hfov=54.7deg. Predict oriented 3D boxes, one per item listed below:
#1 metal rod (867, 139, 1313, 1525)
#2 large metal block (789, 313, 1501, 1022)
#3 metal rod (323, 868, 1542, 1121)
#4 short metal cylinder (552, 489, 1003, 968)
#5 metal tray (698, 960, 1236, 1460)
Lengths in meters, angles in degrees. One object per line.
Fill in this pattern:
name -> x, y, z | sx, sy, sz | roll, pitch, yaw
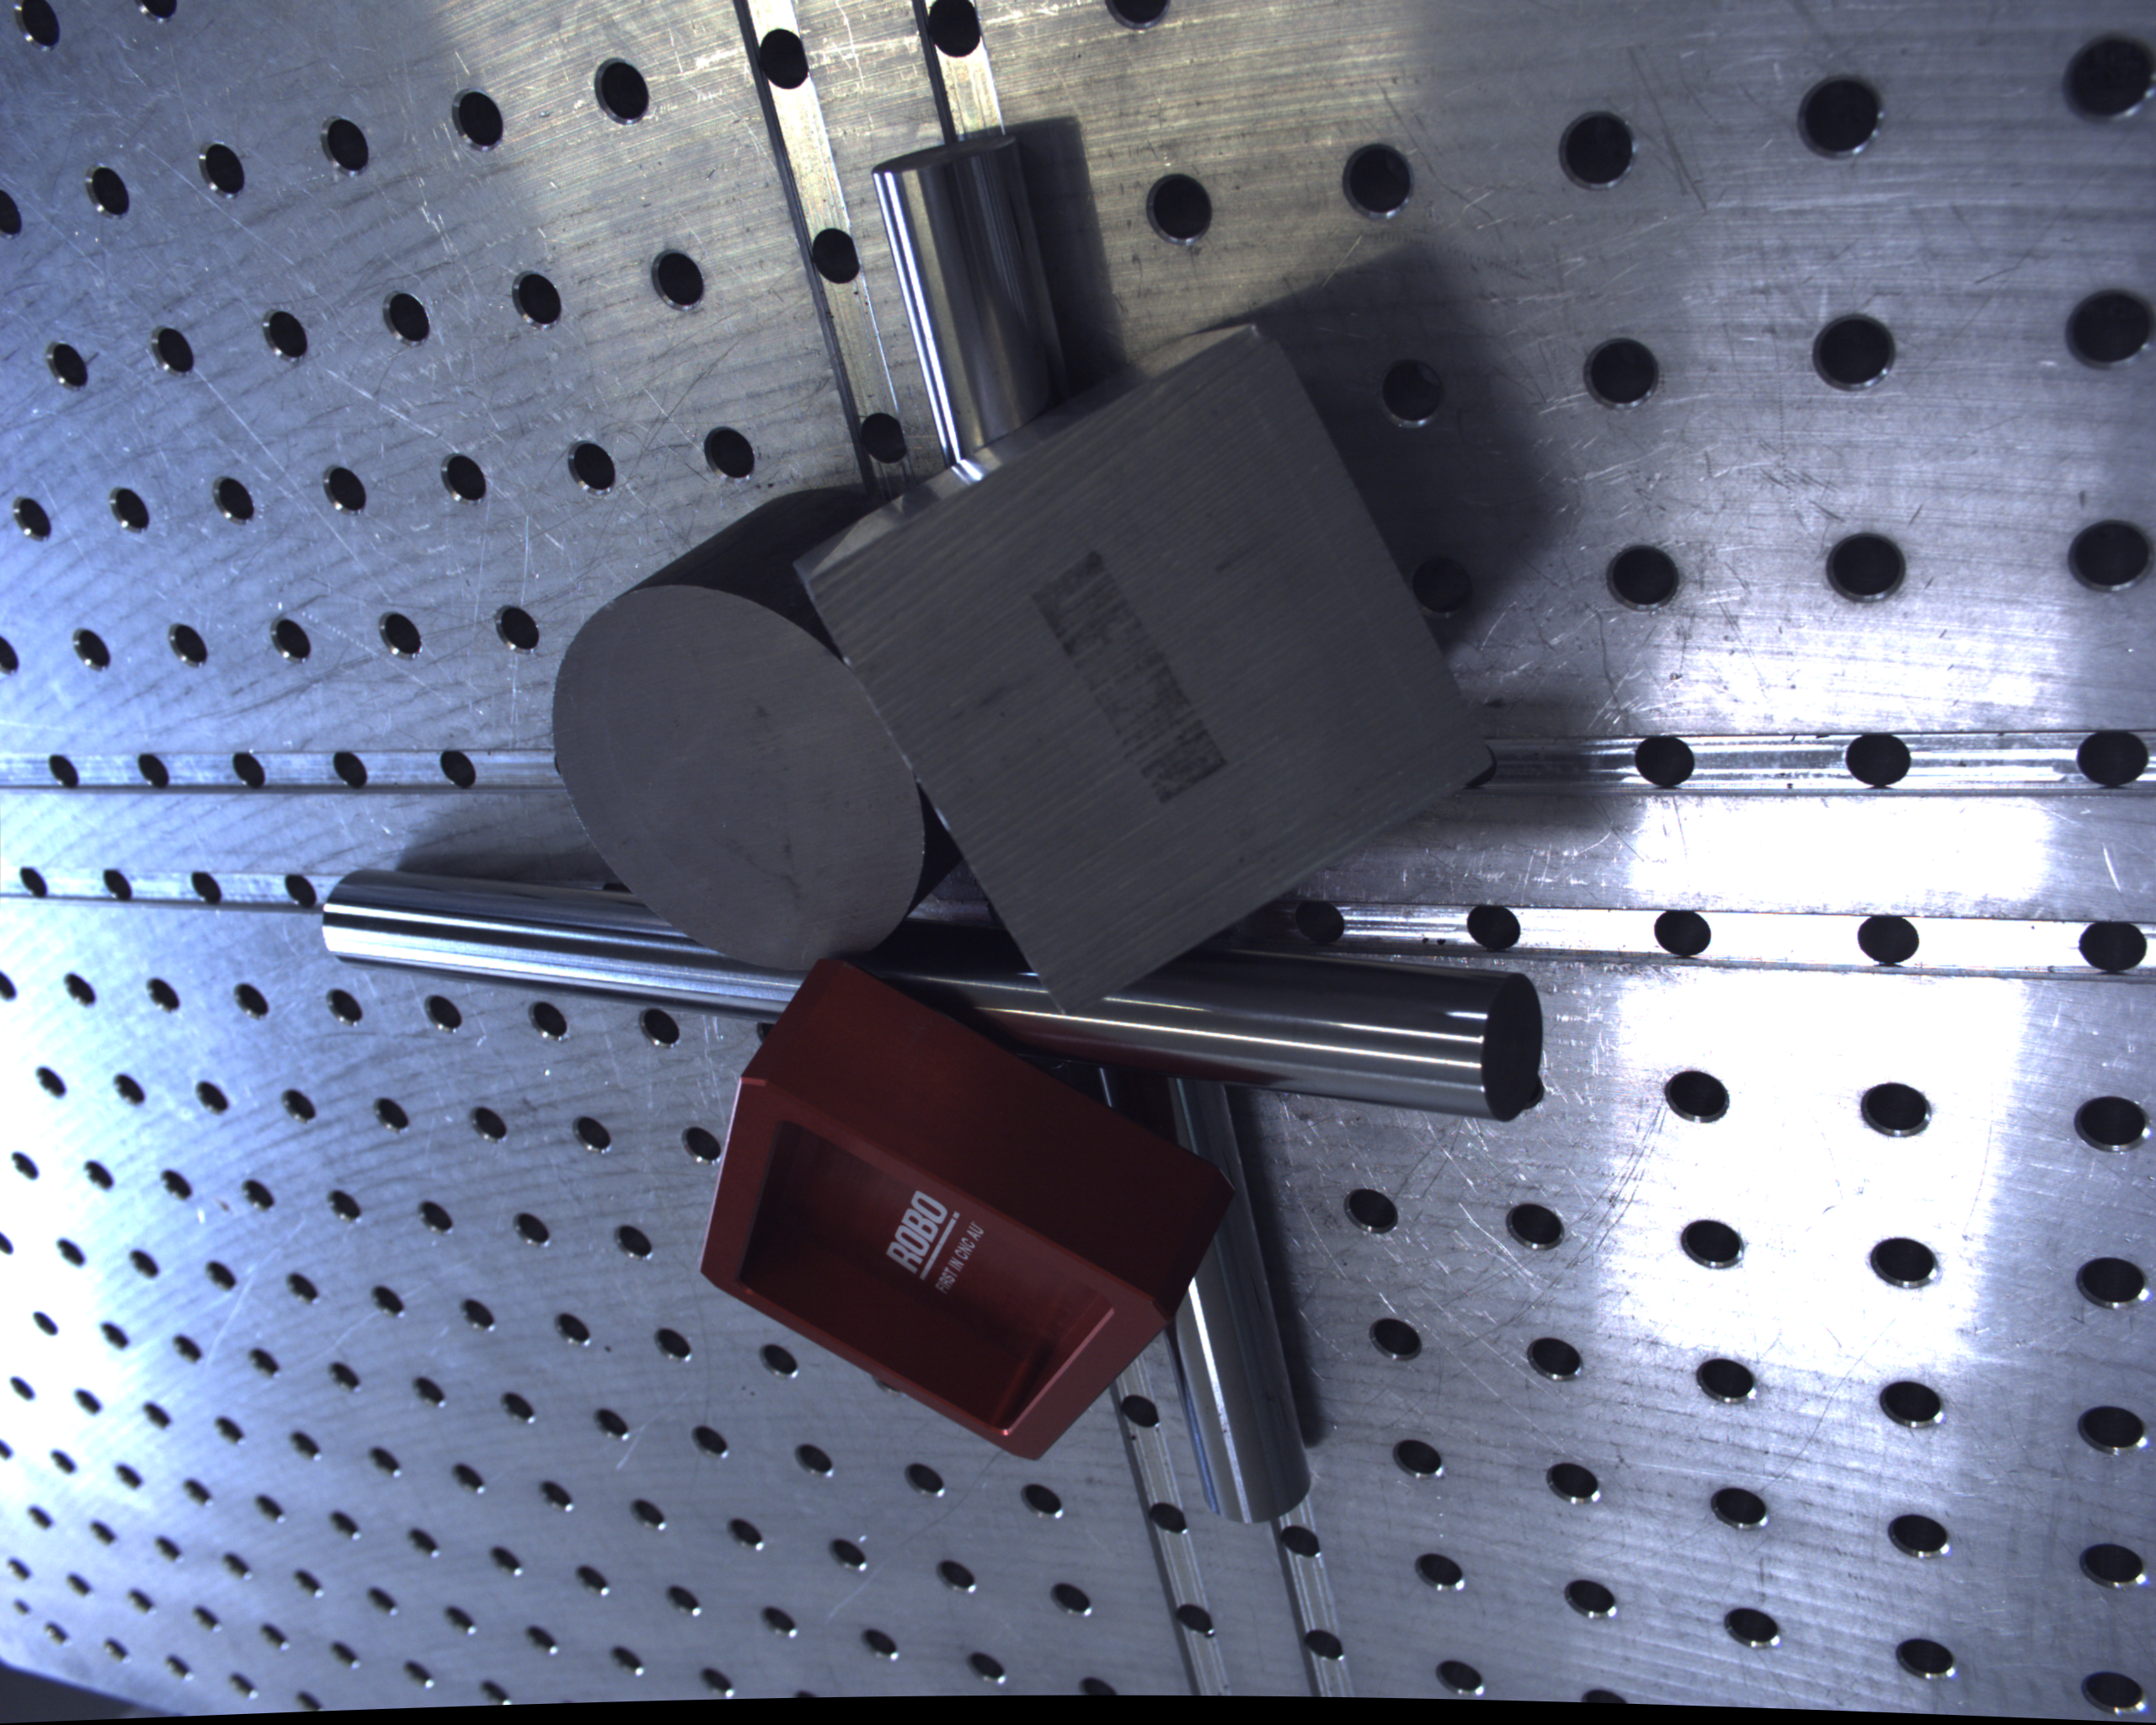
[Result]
metal rod -> 0.009, 0.012, 0.414 | 0.025, 0.025, 0.298 | 1, 119, 28
large metal block -> 0.009, -0.033, 0.344 | 0.080, 0.050, 0.080 | -31, 105, -3
metal rod -> -0.052, 0.022, 0.431 | 0.300, 0.025, 0.025 | 4, 121, 34
short metal cylinder -> -0.054, -0.026, 0.407 | 0.080, 0.050, 0.079 | 13, 124, 21
metal tray -> -0.029, 0.078, 0.438 | 0.090, 0.030, 0.129 | 29, 149, 2
